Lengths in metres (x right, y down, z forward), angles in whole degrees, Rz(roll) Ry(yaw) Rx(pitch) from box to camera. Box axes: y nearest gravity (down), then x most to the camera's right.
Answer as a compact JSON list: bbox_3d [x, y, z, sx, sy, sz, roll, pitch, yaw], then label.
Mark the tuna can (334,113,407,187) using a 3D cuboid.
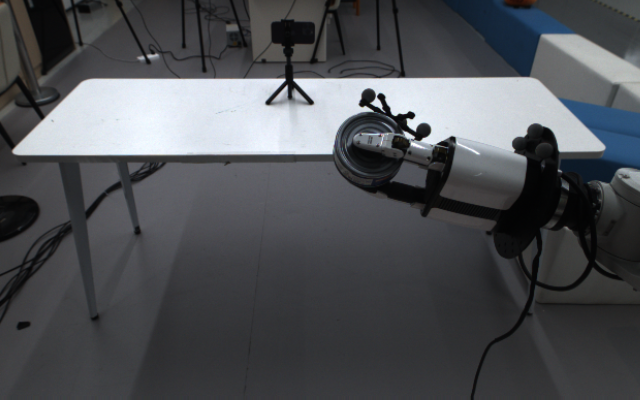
[{"bbox_3d":[0.063,-0.054,0.574,0.085,0.034,0.085,0,74,0],"label":"tuna can"}]
